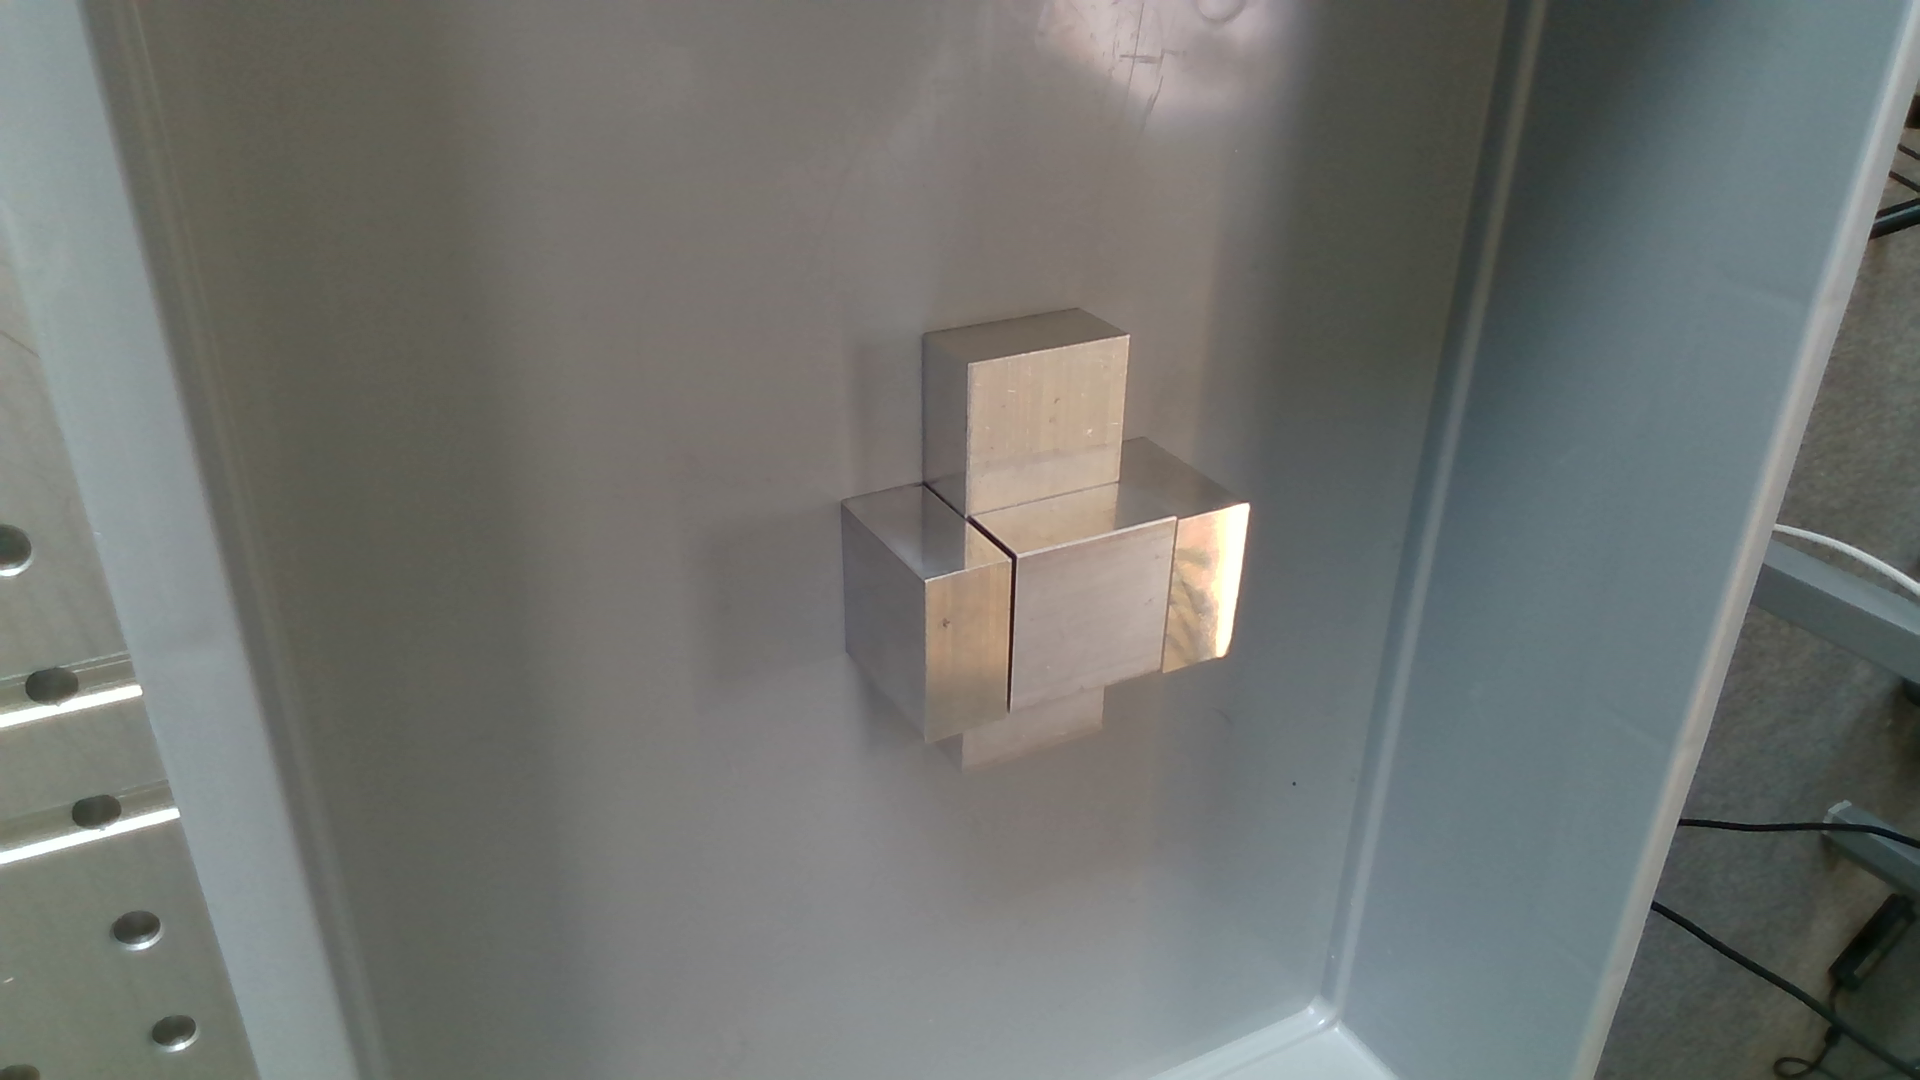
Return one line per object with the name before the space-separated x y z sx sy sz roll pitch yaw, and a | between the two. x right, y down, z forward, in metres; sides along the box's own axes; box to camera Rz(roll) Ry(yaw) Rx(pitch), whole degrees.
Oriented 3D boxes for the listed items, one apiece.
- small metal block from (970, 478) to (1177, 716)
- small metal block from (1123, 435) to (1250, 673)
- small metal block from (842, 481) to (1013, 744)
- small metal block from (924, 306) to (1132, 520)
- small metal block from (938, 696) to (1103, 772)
small metal block | 0.030 0.015 0.382 0.050 0.025 0.050 -14 121 -25
small metal block | 0.057 0.003 0.408 0.025 0.050 0.050 -14 121 -25
small metal block | -0.010 0.018 0.374 0.025 0.050 0.050 -14 121 -25
small metal block | 0.018 -0.034 0.380 0.050 0.025 0.050 -14 121 -25
small metal block | 0.017 0.037 0.419 0.050 0.025 0.050 -14 121 -25
